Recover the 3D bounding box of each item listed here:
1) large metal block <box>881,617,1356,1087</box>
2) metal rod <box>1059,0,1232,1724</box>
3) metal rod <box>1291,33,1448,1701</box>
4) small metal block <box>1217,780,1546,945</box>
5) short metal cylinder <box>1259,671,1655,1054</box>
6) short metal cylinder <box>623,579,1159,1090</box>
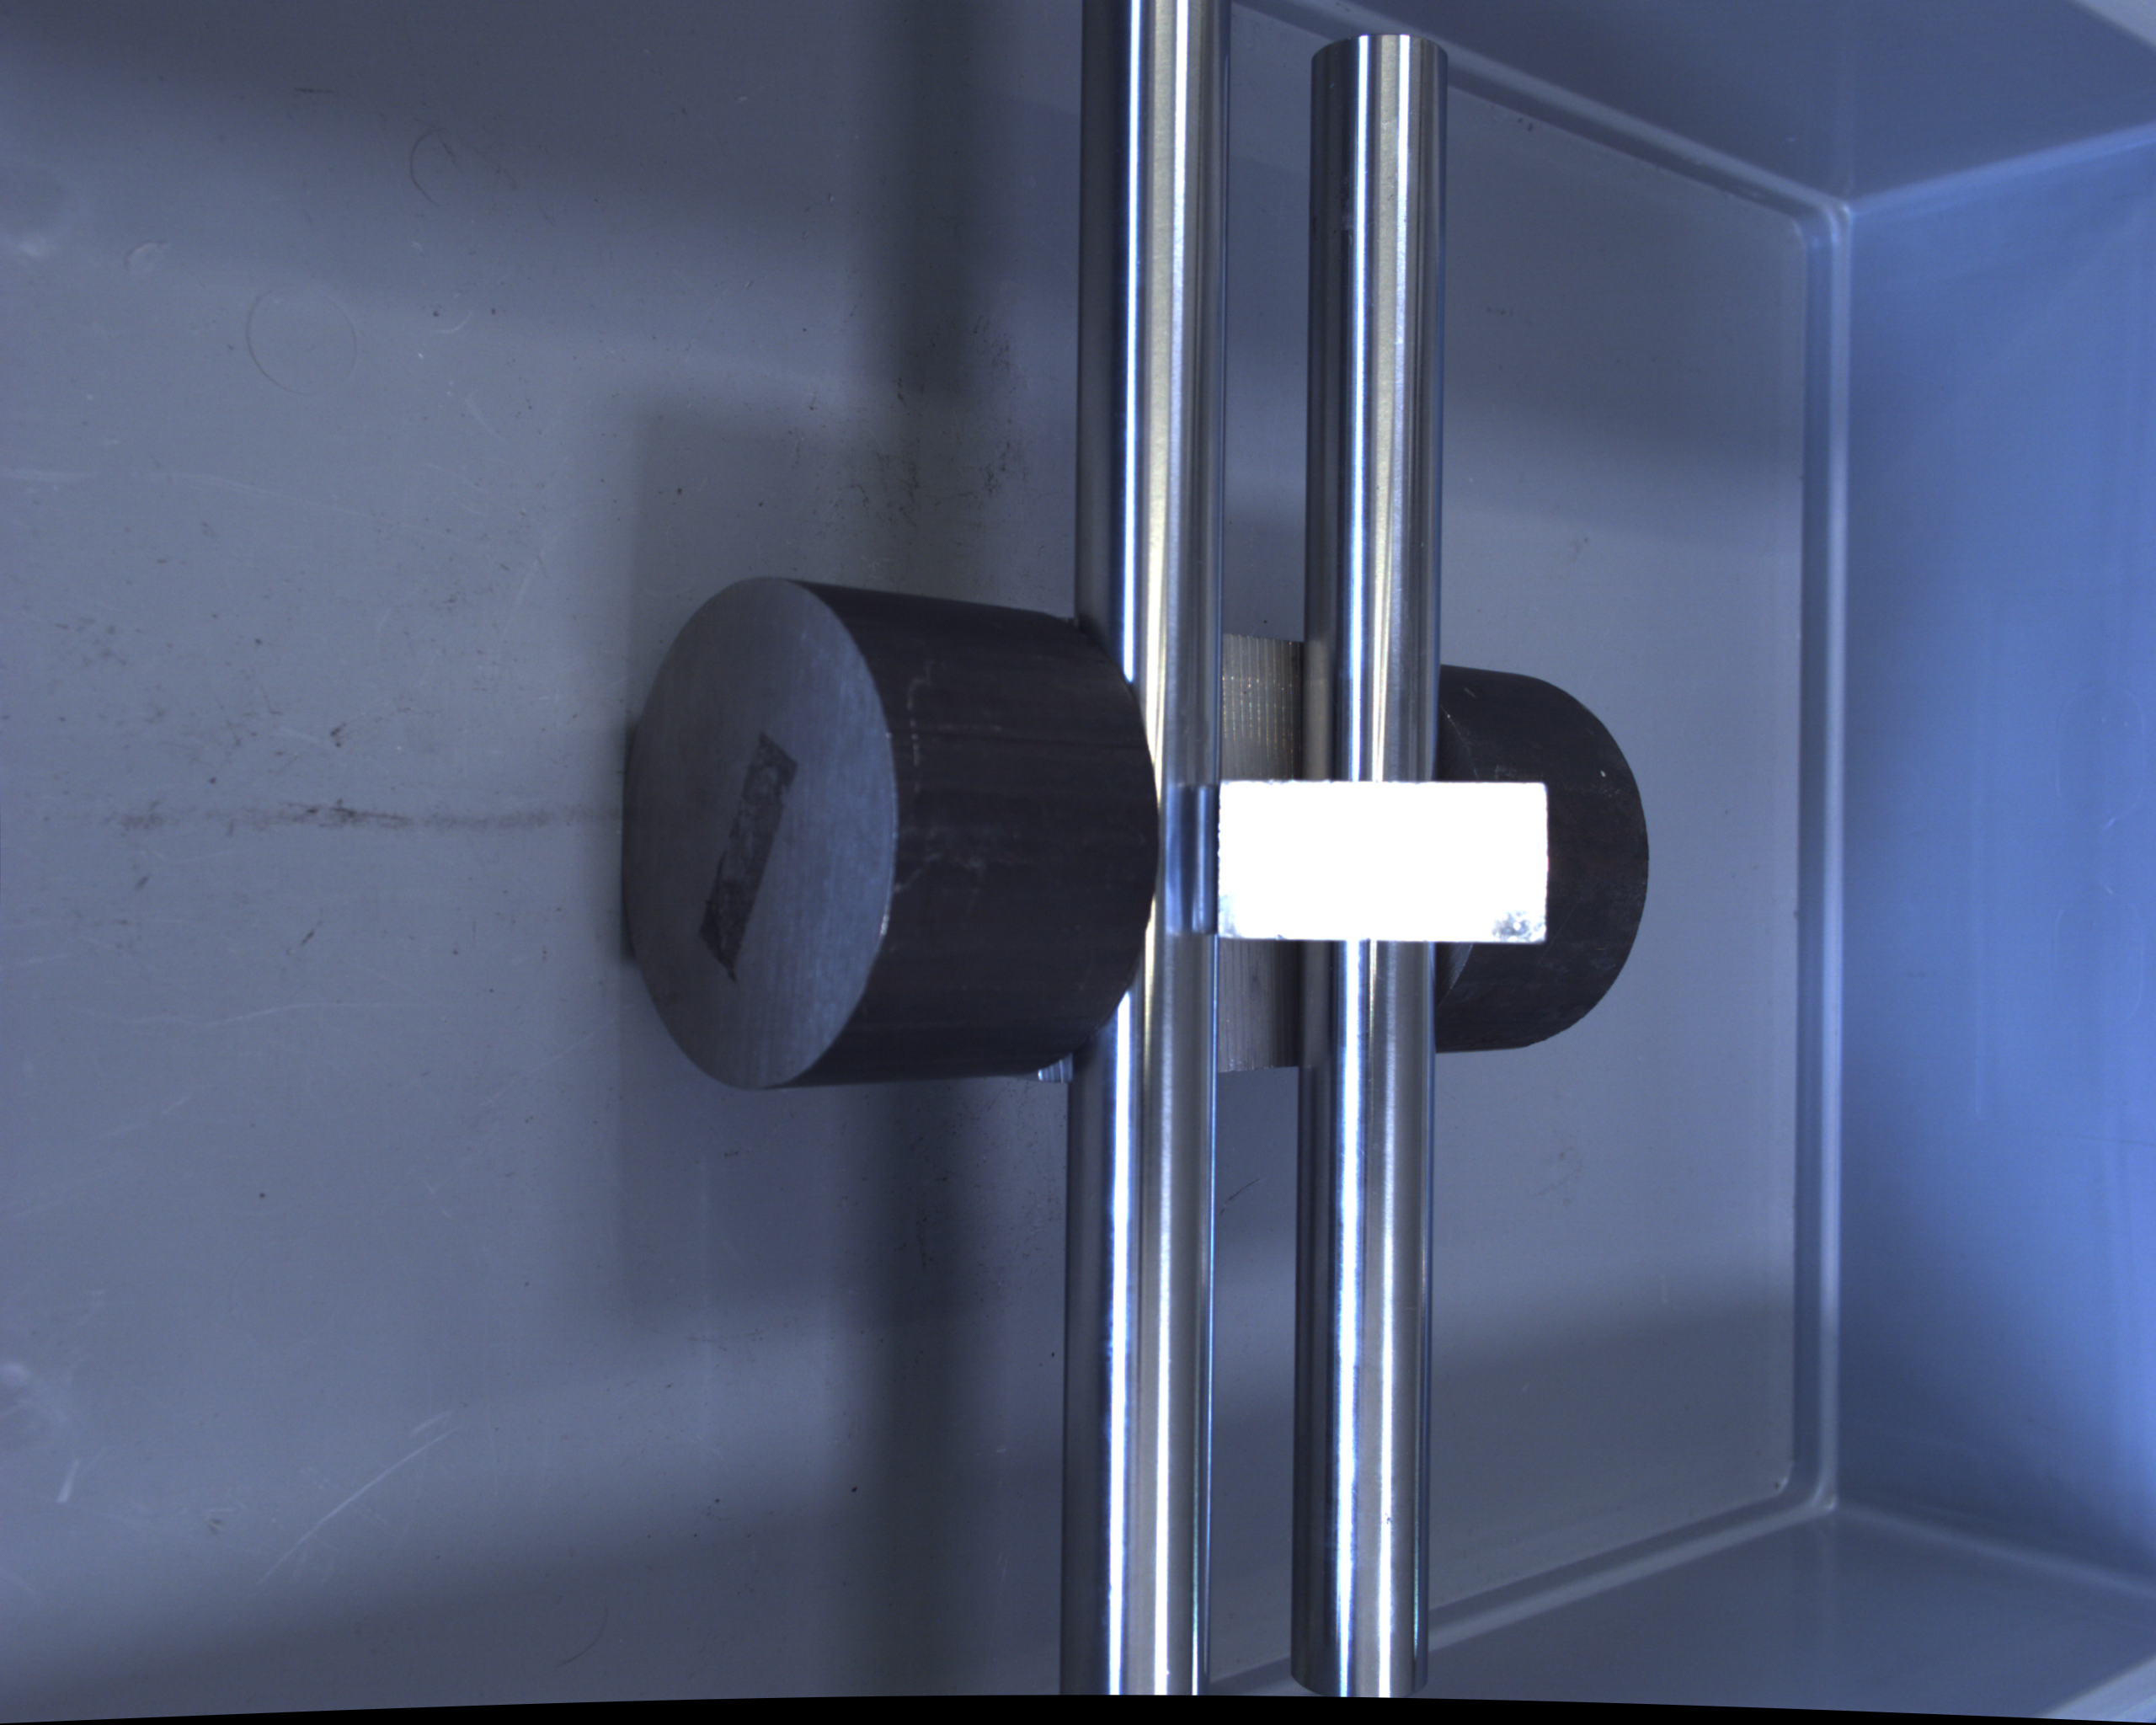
[{"bbox_3d":[0.008,-0.002,0.395,0.081,0.050,0.079,1,90,-40],"label":"large metal block"},{"bbox_3d":[0.011,0.002,0.350,0.025,0.025,0.298,1,89,-40],"label":"metal rod"},{"bbox_3d":[0.054,0.000,0.385,0.025,0.025,0.298,1,89,-40],"label":"metal rod"},{"bbox_3d":[0.049,0.000,0.348,0.050,0.050,0.025,1,90,4],"label":"small metal block"},{"bbox_3d":[0.069,0.000,0.426,0.050,0.080,0.079,1,90,-39],"label":"short metal cylinder"},{"bbox_3d":[-0.033,-0.004,0.342,0.050,0.080,0.079,2,89,-40],"label":"short metal cylinder"}]
